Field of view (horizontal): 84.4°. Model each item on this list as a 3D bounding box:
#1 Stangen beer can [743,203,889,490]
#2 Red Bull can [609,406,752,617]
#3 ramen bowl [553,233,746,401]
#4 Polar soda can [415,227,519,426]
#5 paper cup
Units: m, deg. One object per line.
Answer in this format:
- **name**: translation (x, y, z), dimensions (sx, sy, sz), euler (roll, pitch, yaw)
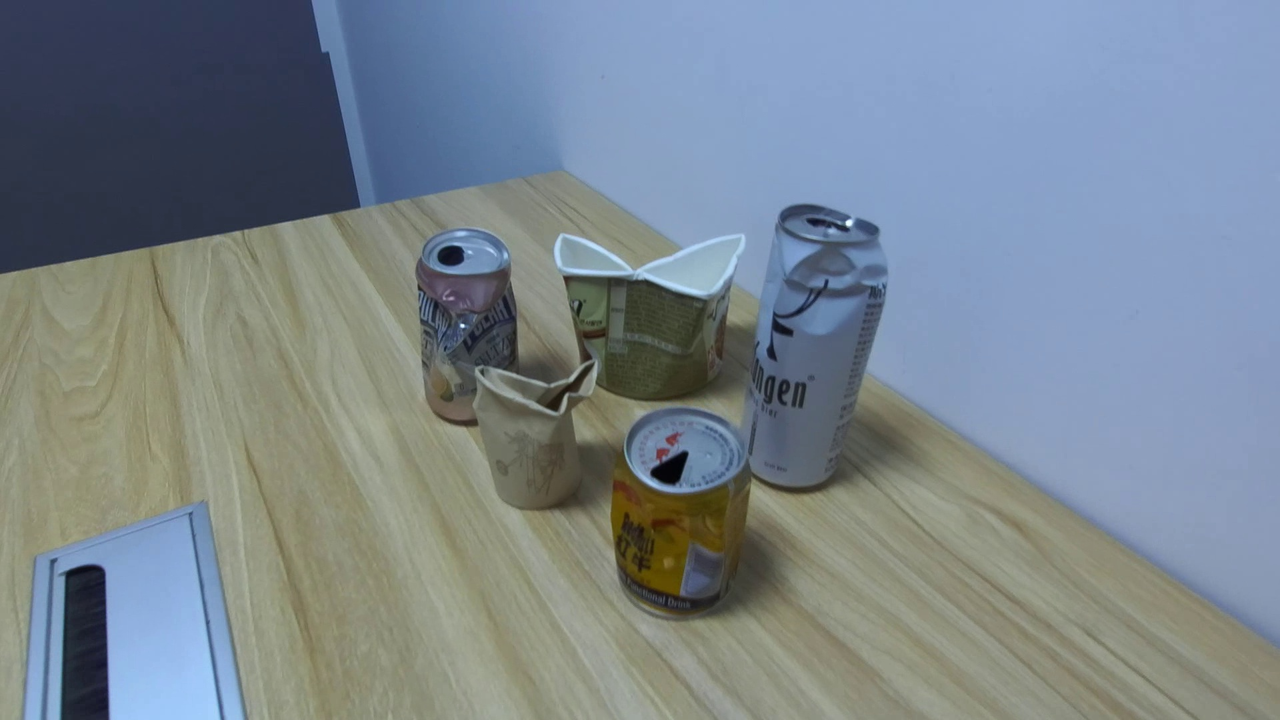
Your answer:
- **Stangen beer can**: translation (0.099, -0.004, 0.417), dimensions (0.066, 0.166, 0.066), euler (4, 34, 5)
- **Red Bull can**: translation (0.020, 0.077, 0.360), dimensions (0.072, 0.092, 0.072), euler (2, 36, -1)
- **ramen bowl**: translation (0.003, -0.042, 0.528), dimensions (0.128, 0.093, 0.111), euler (11, 37, 14)
- **Polar soda can**: translation (-0.114, -0.020, 0.478), dimensions (0.067, 0.122, 0.070), euler (-6, 36, -19)
- **paper cup**: translation (-0.059, 0.039, 0.423), dimensions (0.066, 0.083, 0.058), euler (19, 37, 22)
